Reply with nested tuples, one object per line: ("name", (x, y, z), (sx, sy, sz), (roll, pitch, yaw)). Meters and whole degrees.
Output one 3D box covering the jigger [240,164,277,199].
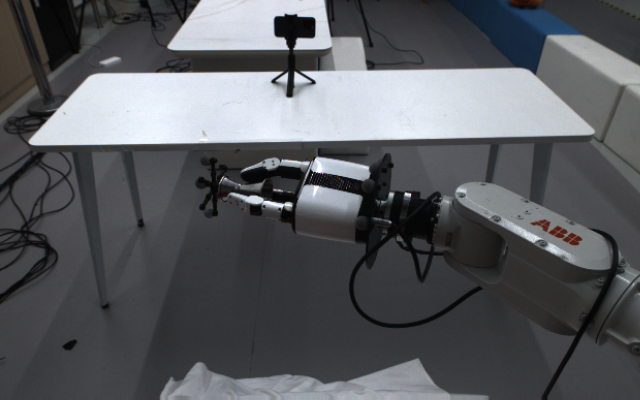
("jigger", (-0.101, -0.015, 0.700), (0.071, 0.043, 0.043), (6, 34, 16))
